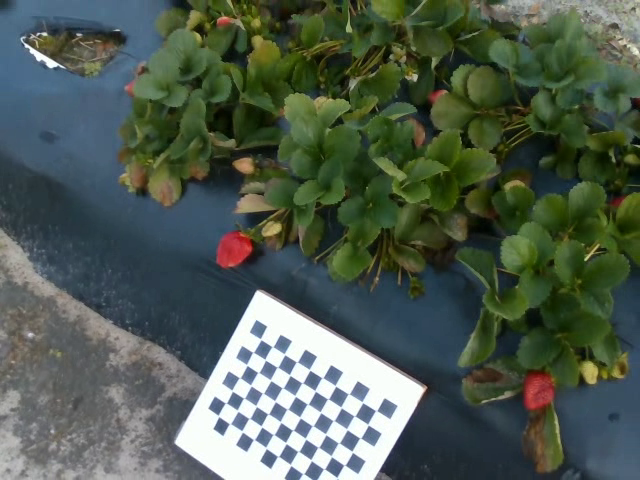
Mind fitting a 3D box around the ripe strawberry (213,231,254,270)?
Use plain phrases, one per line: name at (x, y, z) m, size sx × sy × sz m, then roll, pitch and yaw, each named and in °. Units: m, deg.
ripe strawberry at (-0.153, 0.014, 1.096) m, size 0.067 × 0.075 × 0.039 m, roll 33°, pitch 3°, yaw 20°
